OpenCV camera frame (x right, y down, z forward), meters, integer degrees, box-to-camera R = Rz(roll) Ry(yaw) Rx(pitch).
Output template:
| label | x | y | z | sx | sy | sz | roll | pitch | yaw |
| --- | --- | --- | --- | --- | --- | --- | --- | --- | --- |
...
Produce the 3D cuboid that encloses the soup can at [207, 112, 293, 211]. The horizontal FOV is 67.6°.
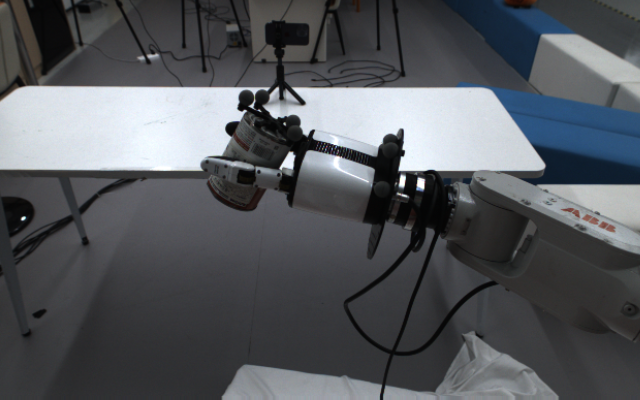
| label | x | y | z | sx | sy | sz | roll | pitch | yaw |
| --- | --- | --- | --- | --- | --- | --- | --- | --- | --- |
| soup can | -0.081 | -0.046 | 0.576 | 0.067 | 0.101 | 0.067 | 28 | 22 | -12 |
